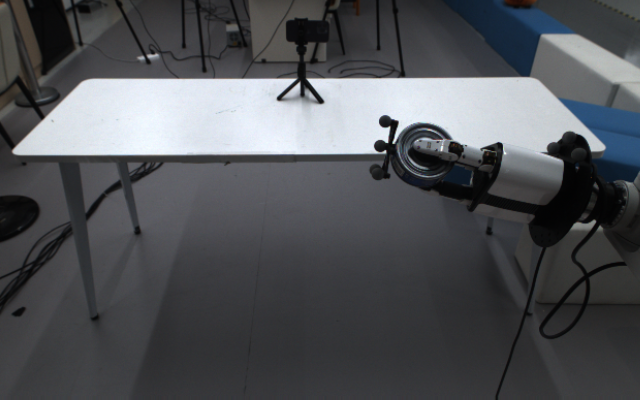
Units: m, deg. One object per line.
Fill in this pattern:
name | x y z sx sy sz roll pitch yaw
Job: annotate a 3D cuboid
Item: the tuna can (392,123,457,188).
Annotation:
tuna can | 0.146 -0.059 0.666 0.085 0.034 0.085 2 73 -6
